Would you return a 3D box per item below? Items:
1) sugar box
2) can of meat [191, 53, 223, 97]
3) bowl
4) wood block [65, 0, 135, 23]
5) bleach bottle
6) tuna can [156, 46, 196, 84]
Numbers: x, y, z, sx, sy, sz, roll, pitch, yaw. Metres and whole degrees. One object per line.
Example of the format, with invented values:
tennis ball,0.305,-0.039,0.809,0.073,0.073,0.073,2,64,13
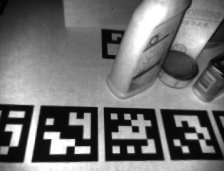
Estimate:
sugar box,0.171,-0.135,0.463,0.092,0.177,0.045,19,56,8
can of meat,0.228,-0.029,0.465,0.103,0.084,0.057,-23,58,-26
bowl,0.240,-0.160,0.573,0.162,0.055,0.161,4,54,-4
wood block,-0.015,-0.222,0.548,0.208,0.090,0.090,-4,60,-15
bleach bottle,0.056,-0.093,0.368,0.103,0.251,0.067,-19,59,-21
tuna can,0.140,-0.045,0.481,0.086,0.034,0.085,5,57,-7
